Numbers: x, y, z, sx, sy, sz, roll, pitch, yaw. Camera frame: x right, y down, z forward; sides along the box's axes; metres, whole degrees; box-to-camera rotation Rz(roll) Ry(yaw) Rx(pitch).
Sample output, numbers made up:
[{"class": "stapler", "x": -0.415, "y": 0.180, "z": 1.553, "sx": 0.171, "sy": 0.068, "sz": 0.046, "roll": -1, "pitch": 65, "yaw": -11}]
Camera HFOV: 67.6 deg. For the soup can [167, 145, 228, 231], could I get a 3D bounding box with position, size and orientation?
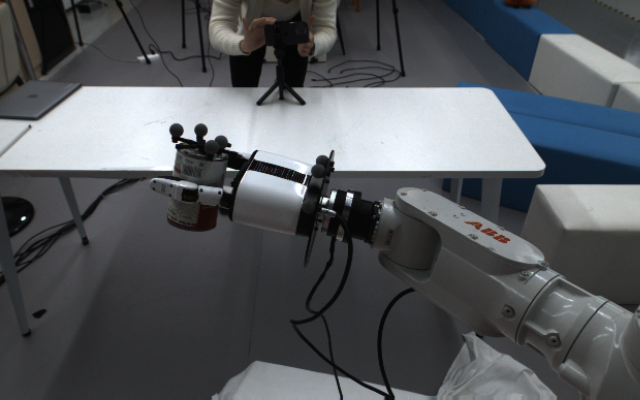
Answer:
[{"class": "soup can", "x": -0.161, "y": -0.017, "z": 0.638, "sx": 0.067, "sy": 0.101, "sz": 0.067, "roll": 13, "pitch": 18, "yaw": -4}]
